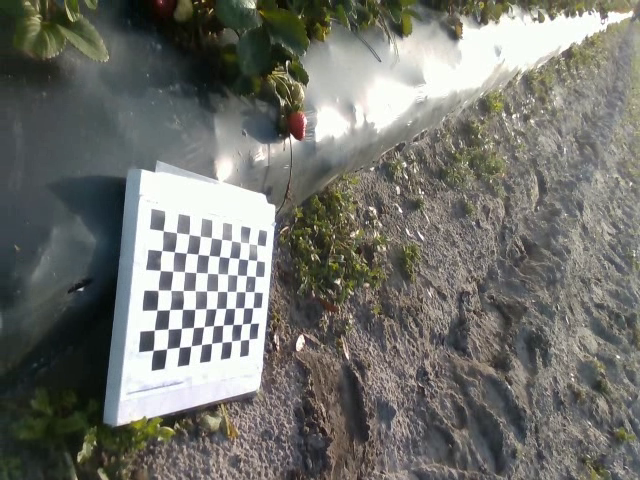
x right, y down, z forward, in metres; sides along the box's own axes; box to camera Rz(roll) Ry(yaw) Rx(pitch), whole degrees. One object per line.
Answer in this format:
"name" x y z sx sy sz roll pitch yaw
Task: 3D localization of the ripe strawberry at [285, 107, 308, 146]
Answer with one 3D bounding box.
"ripe strawberry" -0.028 -0.188 1.005 0.034 0.050 0.047 -3 15 29
